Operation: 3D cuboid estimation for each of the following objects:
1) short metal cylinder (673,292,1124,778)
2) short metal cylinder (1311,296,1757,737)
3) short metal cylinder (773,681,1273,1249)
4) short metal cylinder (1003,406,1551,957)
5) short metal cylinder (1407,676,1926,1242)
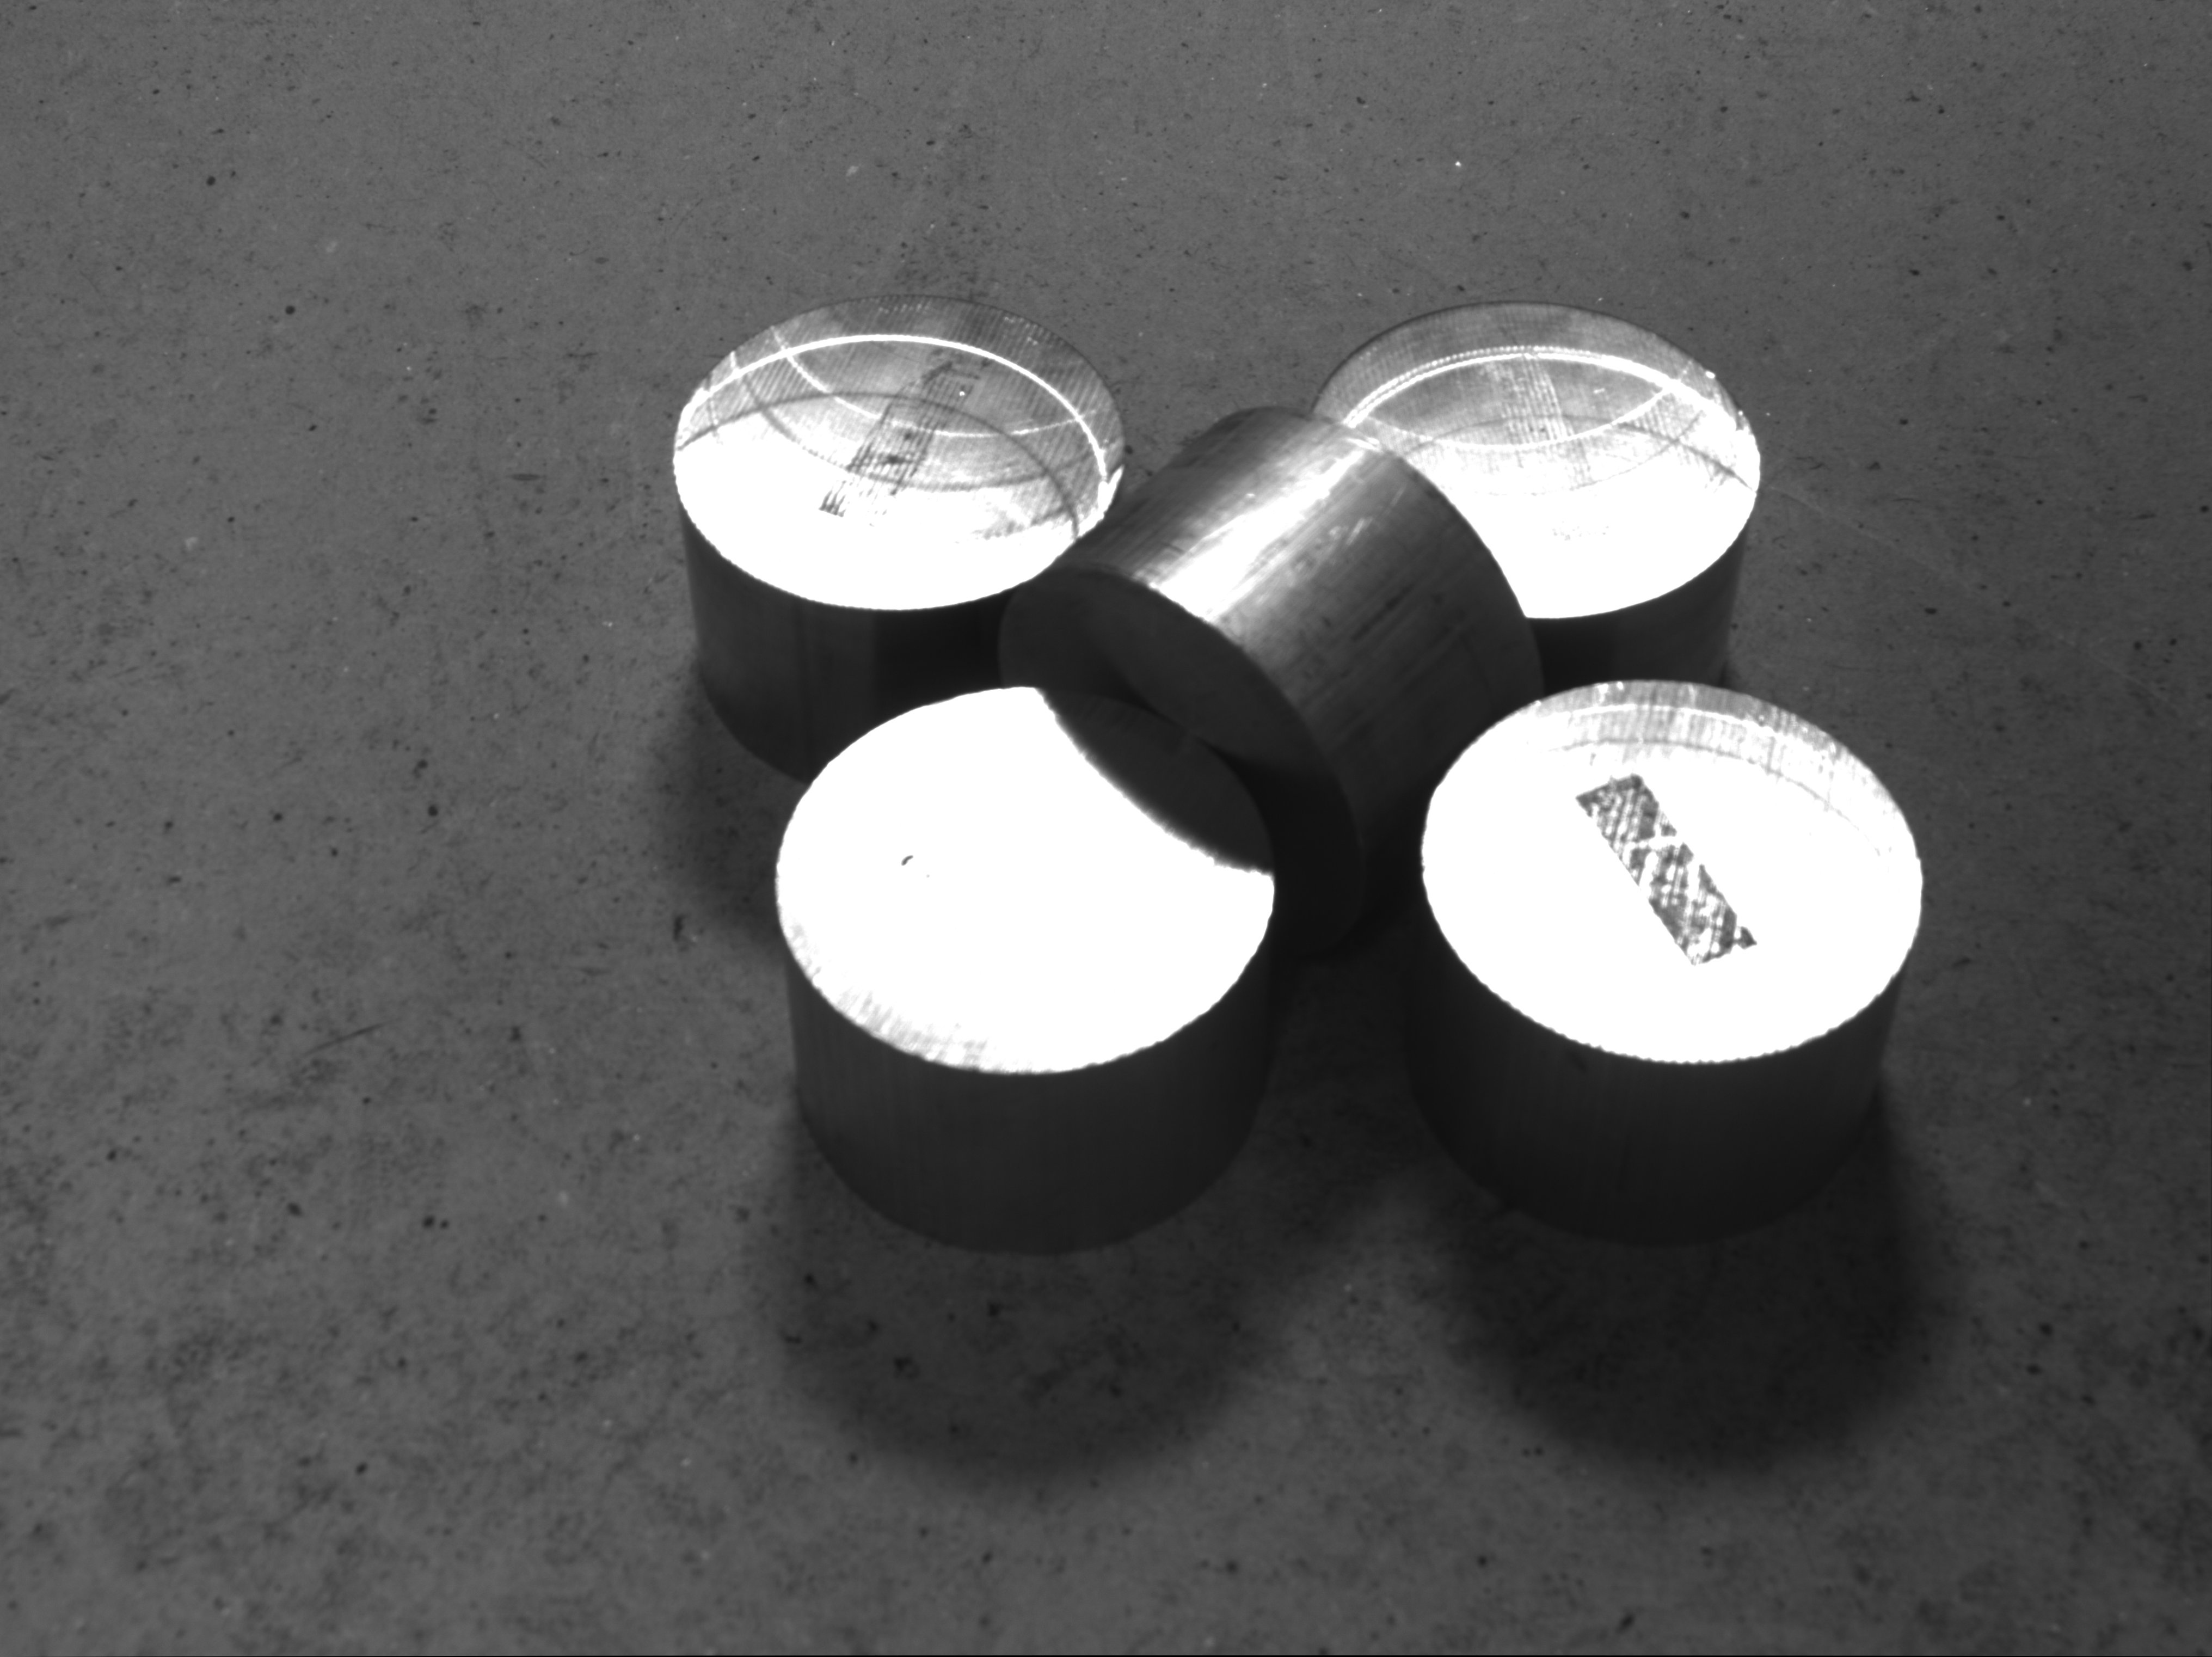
[{"bbox_3d":[-0.037,-0.052,0.669,0.080,0.050,0.080,0,50,0],"label":"short metal cylinder"},{"bbox_3d":[0.075,-0.051,0.667,0.080,0.050,0.080,0,50,0],"label":"short metal cylinder"},{"bbox_3d":[-0.013,0.022,0.606,0.080,0.050,0.080,0,50,0],"label":"short metal cylinder"},{"bbox_3d":[0.029,-0.025,0.628,0.080,0.080,0.050,32,57,24],"label":"short metal cylinder"},{"bbox_3d":[0.091,0.021,0.607,0.080,0.050,0.080,0,50,0],"label":"short metal cylinder"}]
